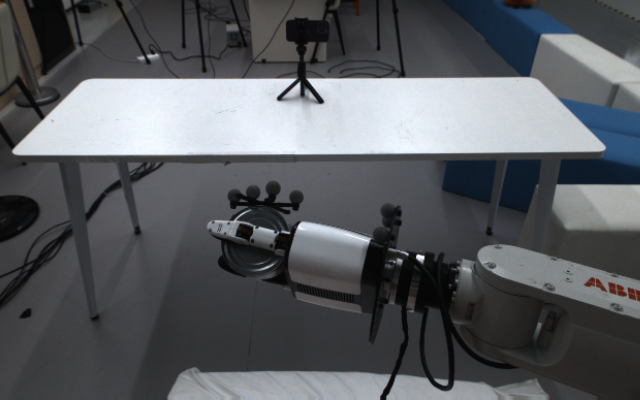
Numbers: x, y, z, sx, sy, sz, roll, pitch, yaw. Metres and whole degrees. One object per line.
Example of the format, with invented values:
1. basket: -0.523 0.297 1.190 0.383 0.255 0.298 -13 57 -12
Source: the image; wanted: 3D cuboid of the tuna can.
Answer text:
1. tuna can: -0.071 0.052 0.582 0.085 0.034 0.085 -3 73 10
